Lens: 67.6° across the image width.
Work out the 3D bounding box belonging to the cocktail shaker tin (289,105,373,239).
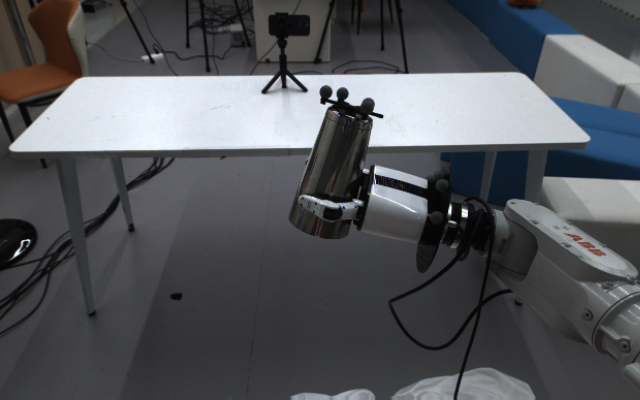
[{"bbox_3d":[0.020,-0.042,0.687,0.093,0.170,0.093,14,20,-5],"label":"cocktail shaker tin"}]
